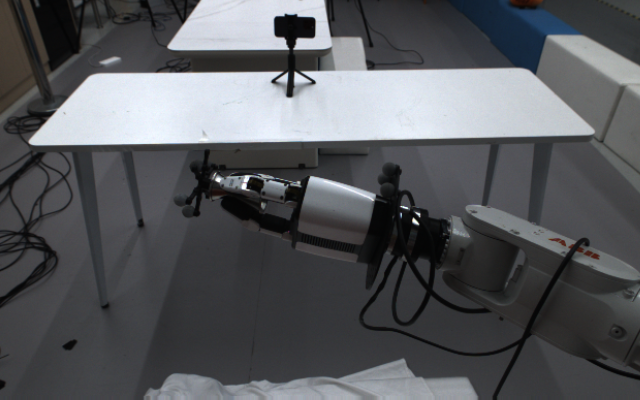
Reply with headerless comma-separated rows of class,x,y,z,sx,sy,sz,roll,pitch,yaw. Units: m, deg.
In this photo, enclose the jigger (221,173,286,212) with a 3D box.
jigger,-0.095,-0.013,0.616,0.071,0.043,0.043,13,36,4
